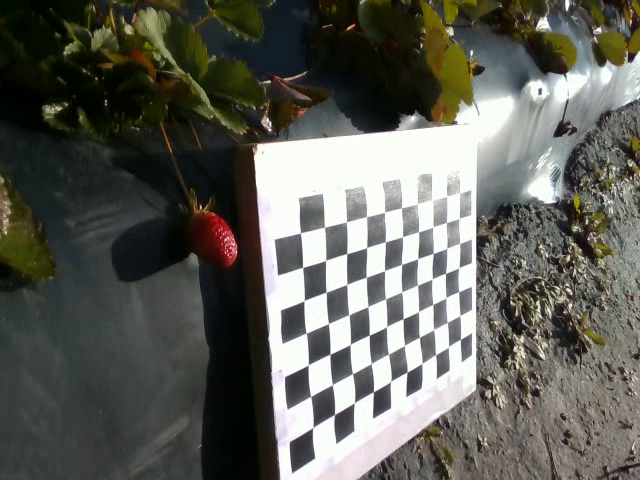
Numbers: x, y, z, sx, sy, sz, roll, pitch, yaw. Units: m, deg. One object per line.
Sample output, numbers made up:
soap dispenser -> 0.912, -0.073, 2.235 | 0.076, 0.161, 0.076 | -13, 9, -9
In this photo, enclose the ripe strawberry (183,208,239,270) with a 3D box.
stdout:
ripe strawberry -> -0.055, 0.003, 0.324 | 0.034, 0.033, 0.038 | -17, 56, -46
